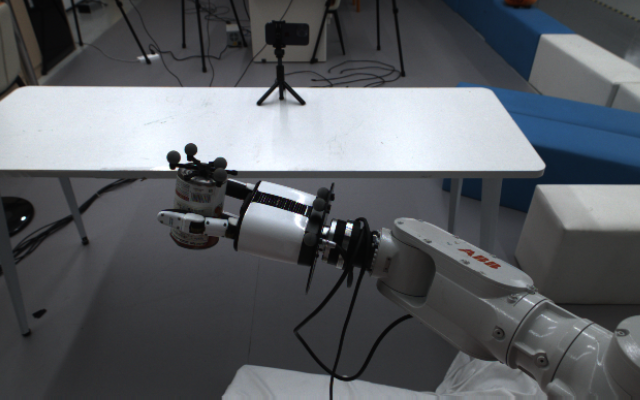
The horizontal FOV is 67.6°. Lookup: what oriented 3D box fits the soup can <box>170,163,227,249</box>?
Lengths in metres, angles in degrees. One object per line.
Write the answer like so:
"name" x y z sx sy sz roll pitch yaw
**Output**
"soup can" -0.165 0.010 0.663 0.067 0.101 0.067 12 25 -5
